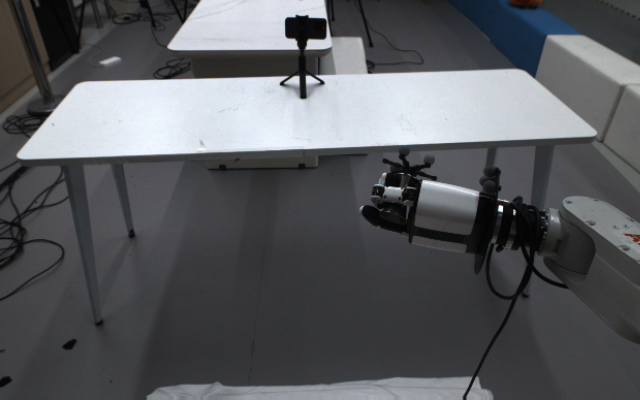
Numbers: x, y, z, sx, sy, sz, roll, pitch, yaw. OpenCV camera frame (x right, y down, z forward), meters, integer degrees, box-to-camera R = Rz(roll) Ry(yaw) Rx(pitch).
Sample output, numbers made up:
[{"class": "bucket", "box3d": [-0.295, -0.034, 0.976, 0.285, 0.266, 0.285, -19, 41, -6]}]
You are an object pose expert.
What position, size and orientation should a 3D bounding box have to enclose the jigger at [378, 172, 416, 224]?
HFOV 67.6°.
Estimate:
[{"class": "jigger", "box3d": [0.122, -0.006, 0.740, 0.043, 0.043, 0.071, 16, 70, 19]}]
